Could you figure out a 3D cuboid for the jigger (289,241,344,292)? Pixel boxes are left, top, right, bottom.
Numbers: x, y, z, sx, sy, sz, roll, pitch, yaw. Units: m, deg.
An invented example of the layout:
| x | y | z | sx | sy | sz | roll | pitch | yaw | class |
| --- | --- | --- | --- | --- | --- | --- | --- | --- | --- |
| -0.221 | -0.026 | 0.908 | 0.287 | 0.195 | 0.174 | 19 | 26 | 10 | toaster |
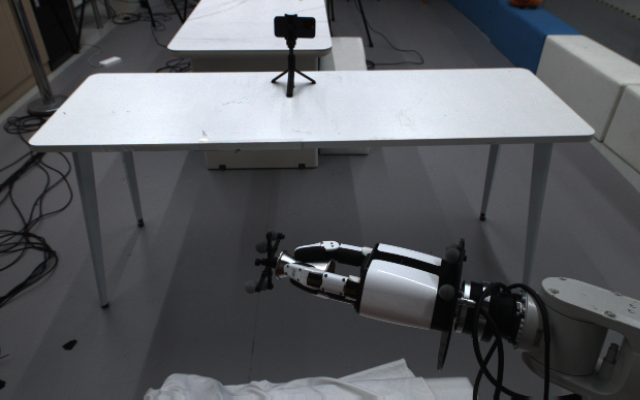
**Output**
| x | y | z | sx | sy | sz | roll | pitch | yaw | class |
| --- | --- | --- | --- | --- | --- | --- | --- | --- | --- |
| -0.013 | 0.087 | 0.627 | 0.071 | 0.043 | 0.043 | 10 | 35 | 16 | jigger |
